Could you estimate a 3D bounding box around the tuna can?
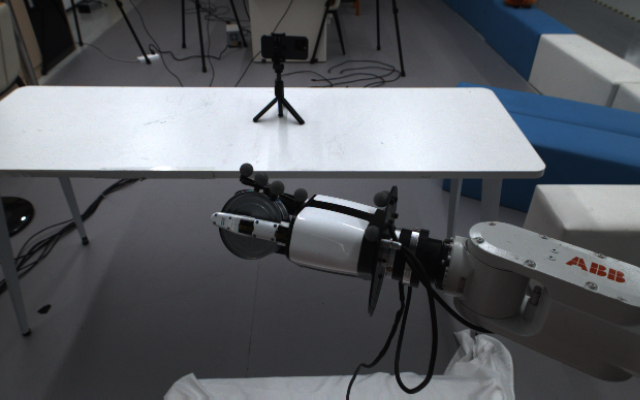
[{"bbox_3d":[-0.079,0.030,0.612,0.085,0.085,0.034,13,3,16],"label":"tuna can"}]
